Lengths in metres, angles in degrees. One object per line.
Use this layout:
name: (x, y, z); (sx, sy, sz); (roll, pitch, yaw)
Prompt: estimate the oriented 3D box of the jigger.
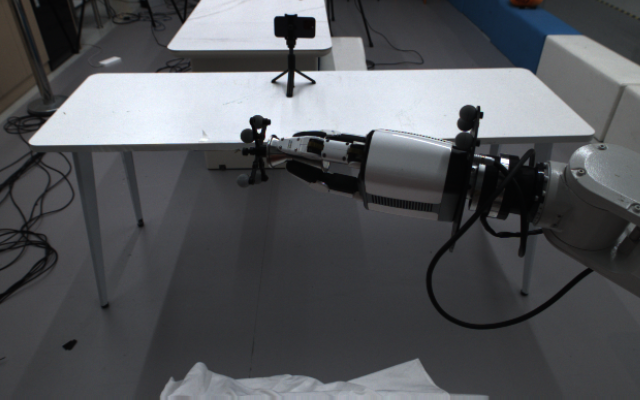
jigger: (-0.018, -0.058, 0.571); (0.071, 0.043, 0.043); (4, 34, 14)
